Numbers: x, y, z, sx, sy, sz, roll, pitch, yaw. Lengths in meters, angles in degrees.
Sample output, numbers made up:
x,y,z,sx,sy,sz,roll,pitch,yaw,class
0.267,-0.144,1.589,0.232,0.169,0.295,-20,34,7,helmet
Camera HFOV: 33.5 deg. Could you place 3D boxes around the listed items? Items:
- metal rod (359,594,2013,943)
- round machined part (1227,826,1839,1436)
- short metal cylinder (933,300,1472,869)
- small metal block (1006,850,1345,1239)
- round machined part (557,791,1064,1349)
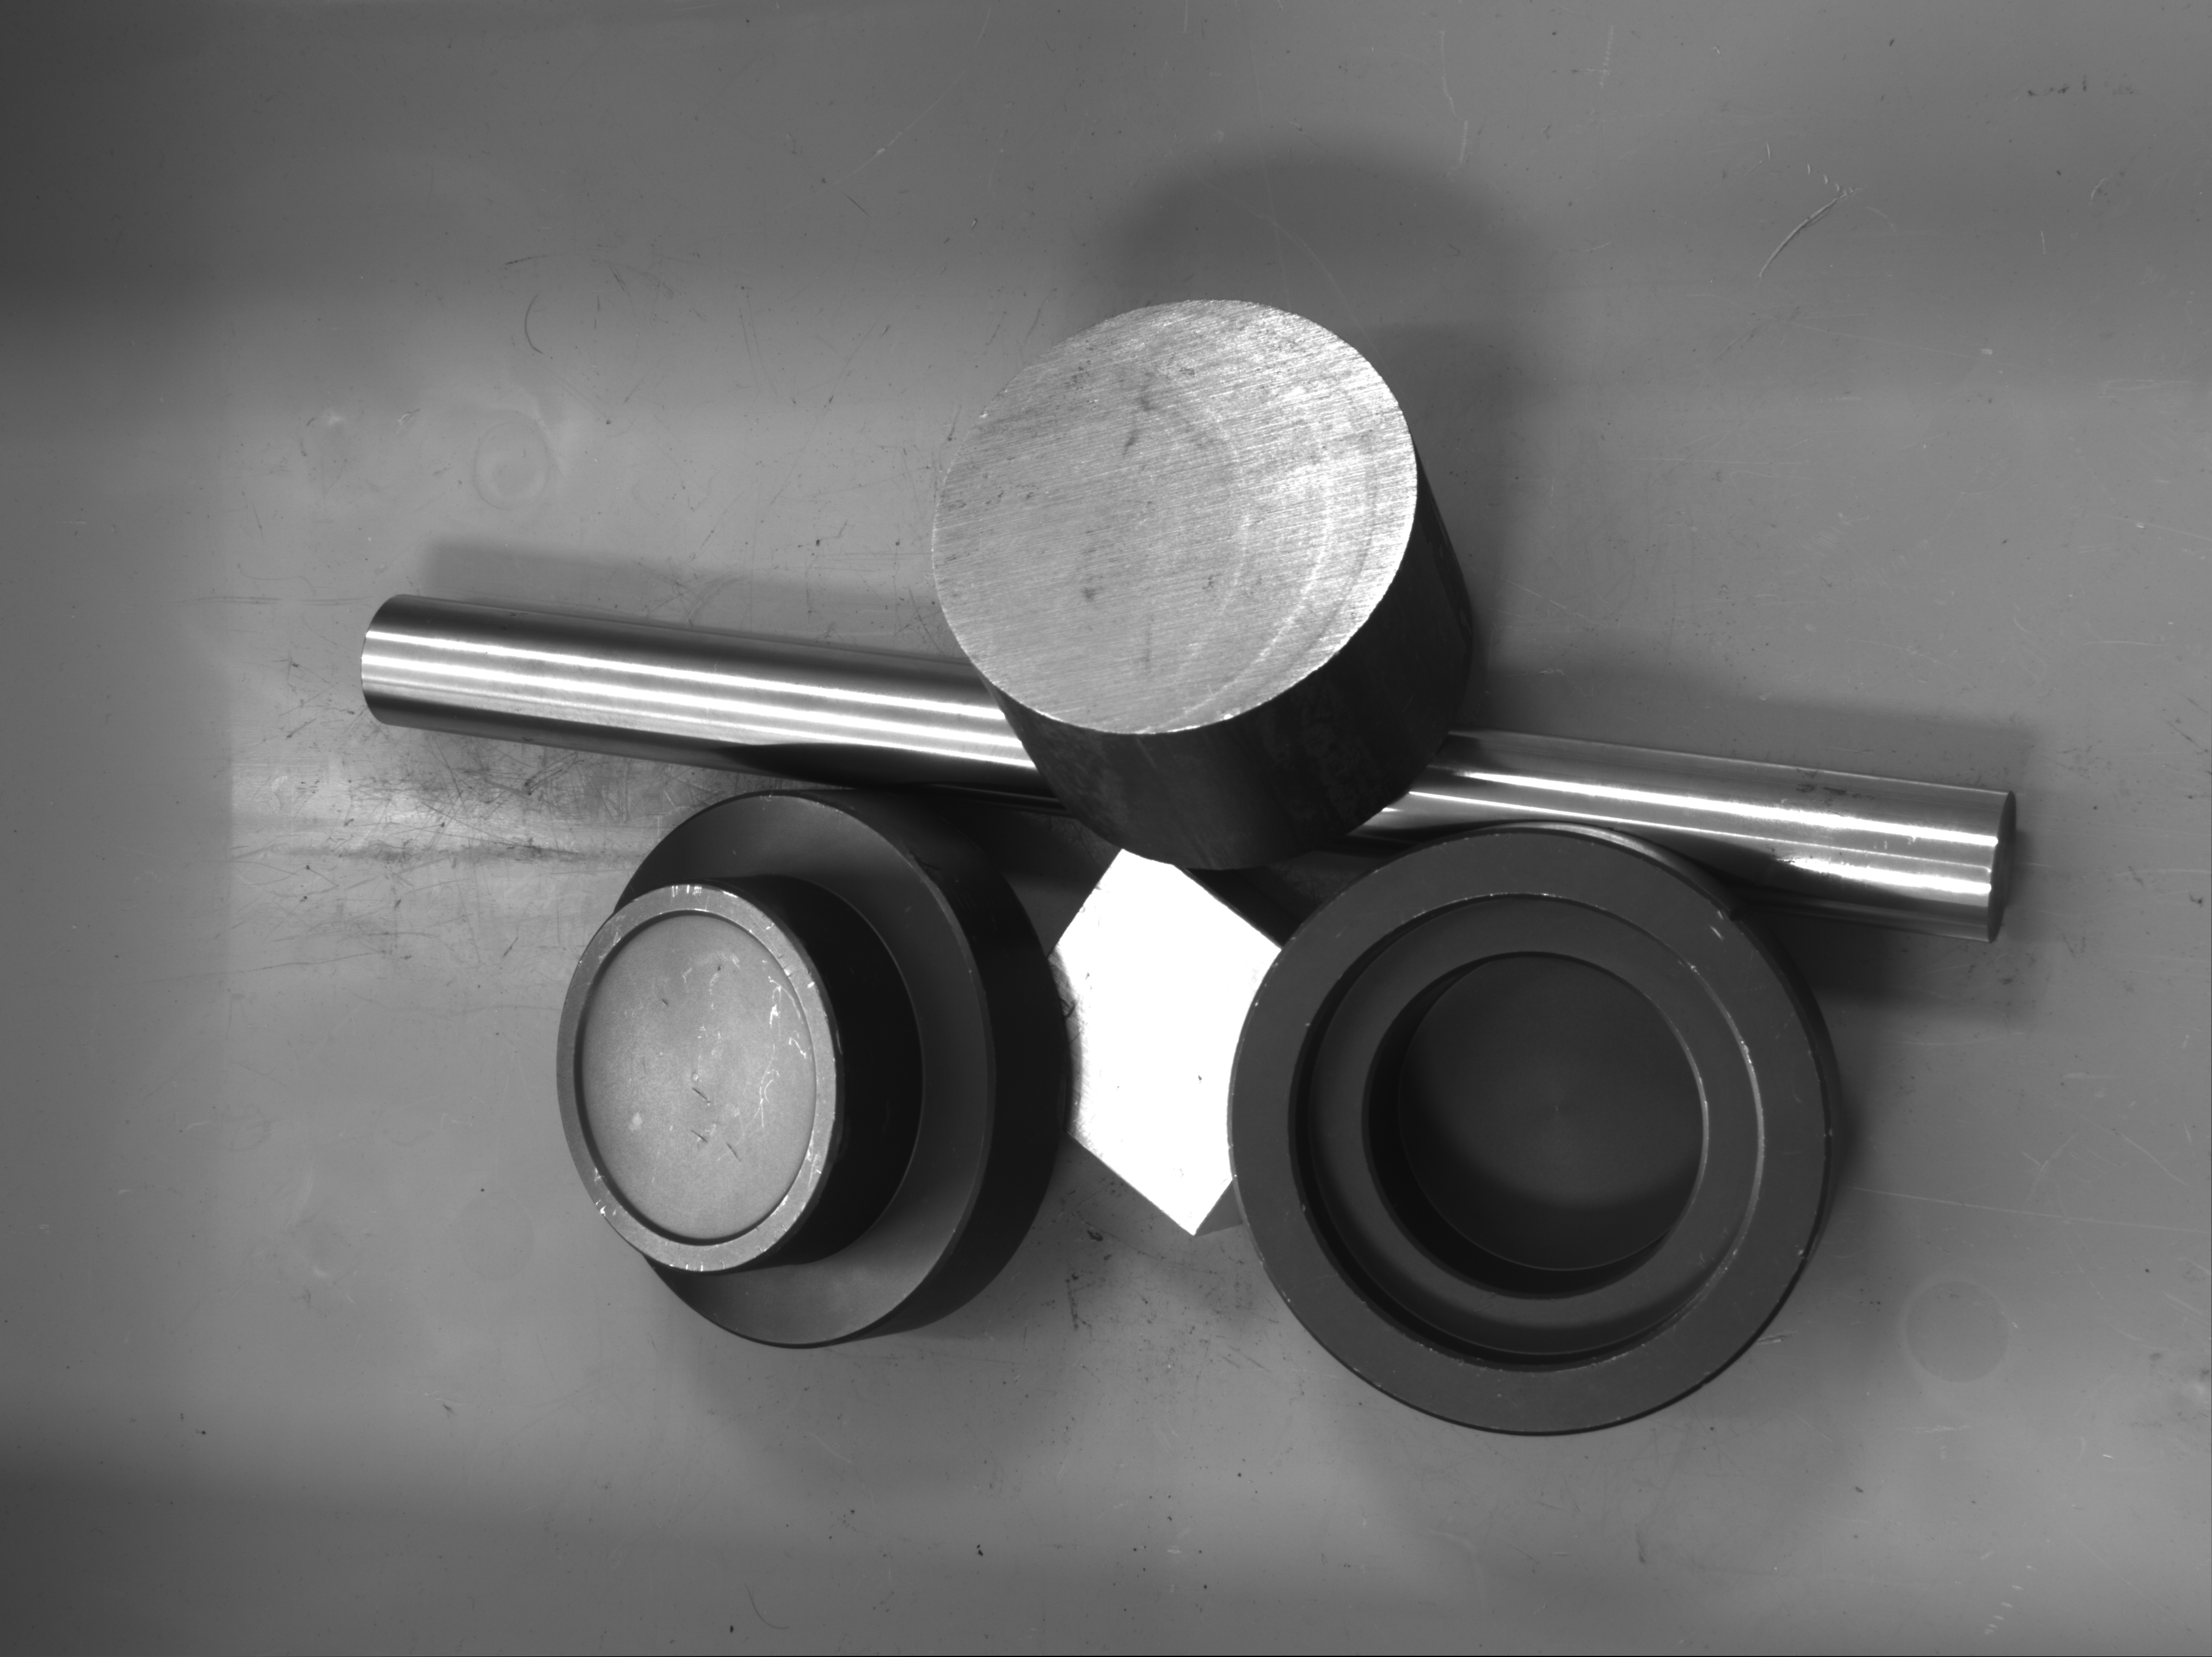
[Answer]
x,y,z,sx,sy,sz,roll,pitch,yaw,class
0.005,-0.013,0.644,0.299,0.025,0.025,8,93,20,metal rod
0.072,0.048,0.608,0.098,0.042,0.098,1,92,17,round machined part
0.017,-0.040,0.610,0.080,0.050,0.080,-7,63,13,short metal cylinder
0.015,0.035,0.640,0.050,0.025,0.050,38,102,16,small metal block
-0.058,0.042,0.644,0.098,0.042,0.098,1,91,38,round machined part
